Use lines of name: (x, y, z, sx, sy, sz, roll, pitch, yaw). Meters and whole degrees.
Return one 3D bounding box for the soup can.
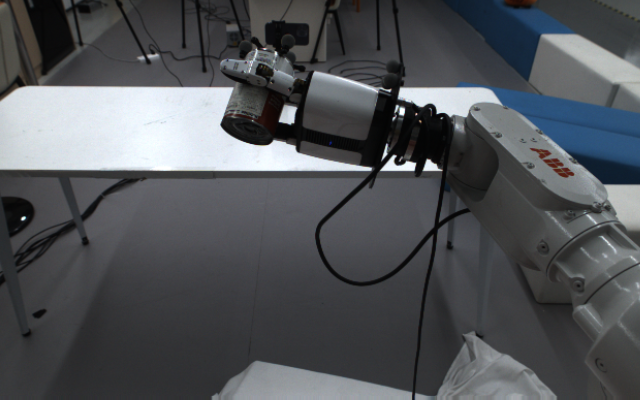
soup can: (-0.077, -0.129, 0.610, 0.067, 0.067, 0.101, 11, 72, 13)
